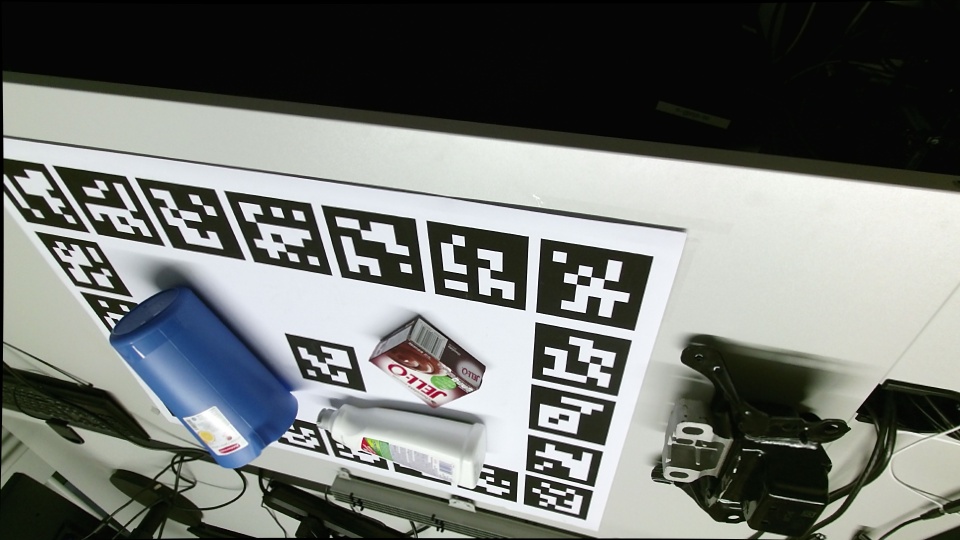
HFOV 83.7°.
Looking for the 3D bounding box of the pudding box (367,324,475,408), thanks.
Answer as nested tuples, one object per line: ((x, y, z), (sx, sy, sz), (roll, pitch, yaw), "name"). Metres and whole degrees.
((-0.076, 0.124, 0.659), (0.114, 0.038, 0.090), (44, 135, -16), "pudding box")

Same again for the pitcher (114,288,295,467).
((-0.388, 0.145, 0.759), (0.188, 0.133, 0.243), (16, 139, 55), "pitcher")

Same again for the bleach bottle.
((-0.128, 0.253, 0.780), (0.251, 0.068, 0.102), (7, 127, 17), "bleach bottle")
